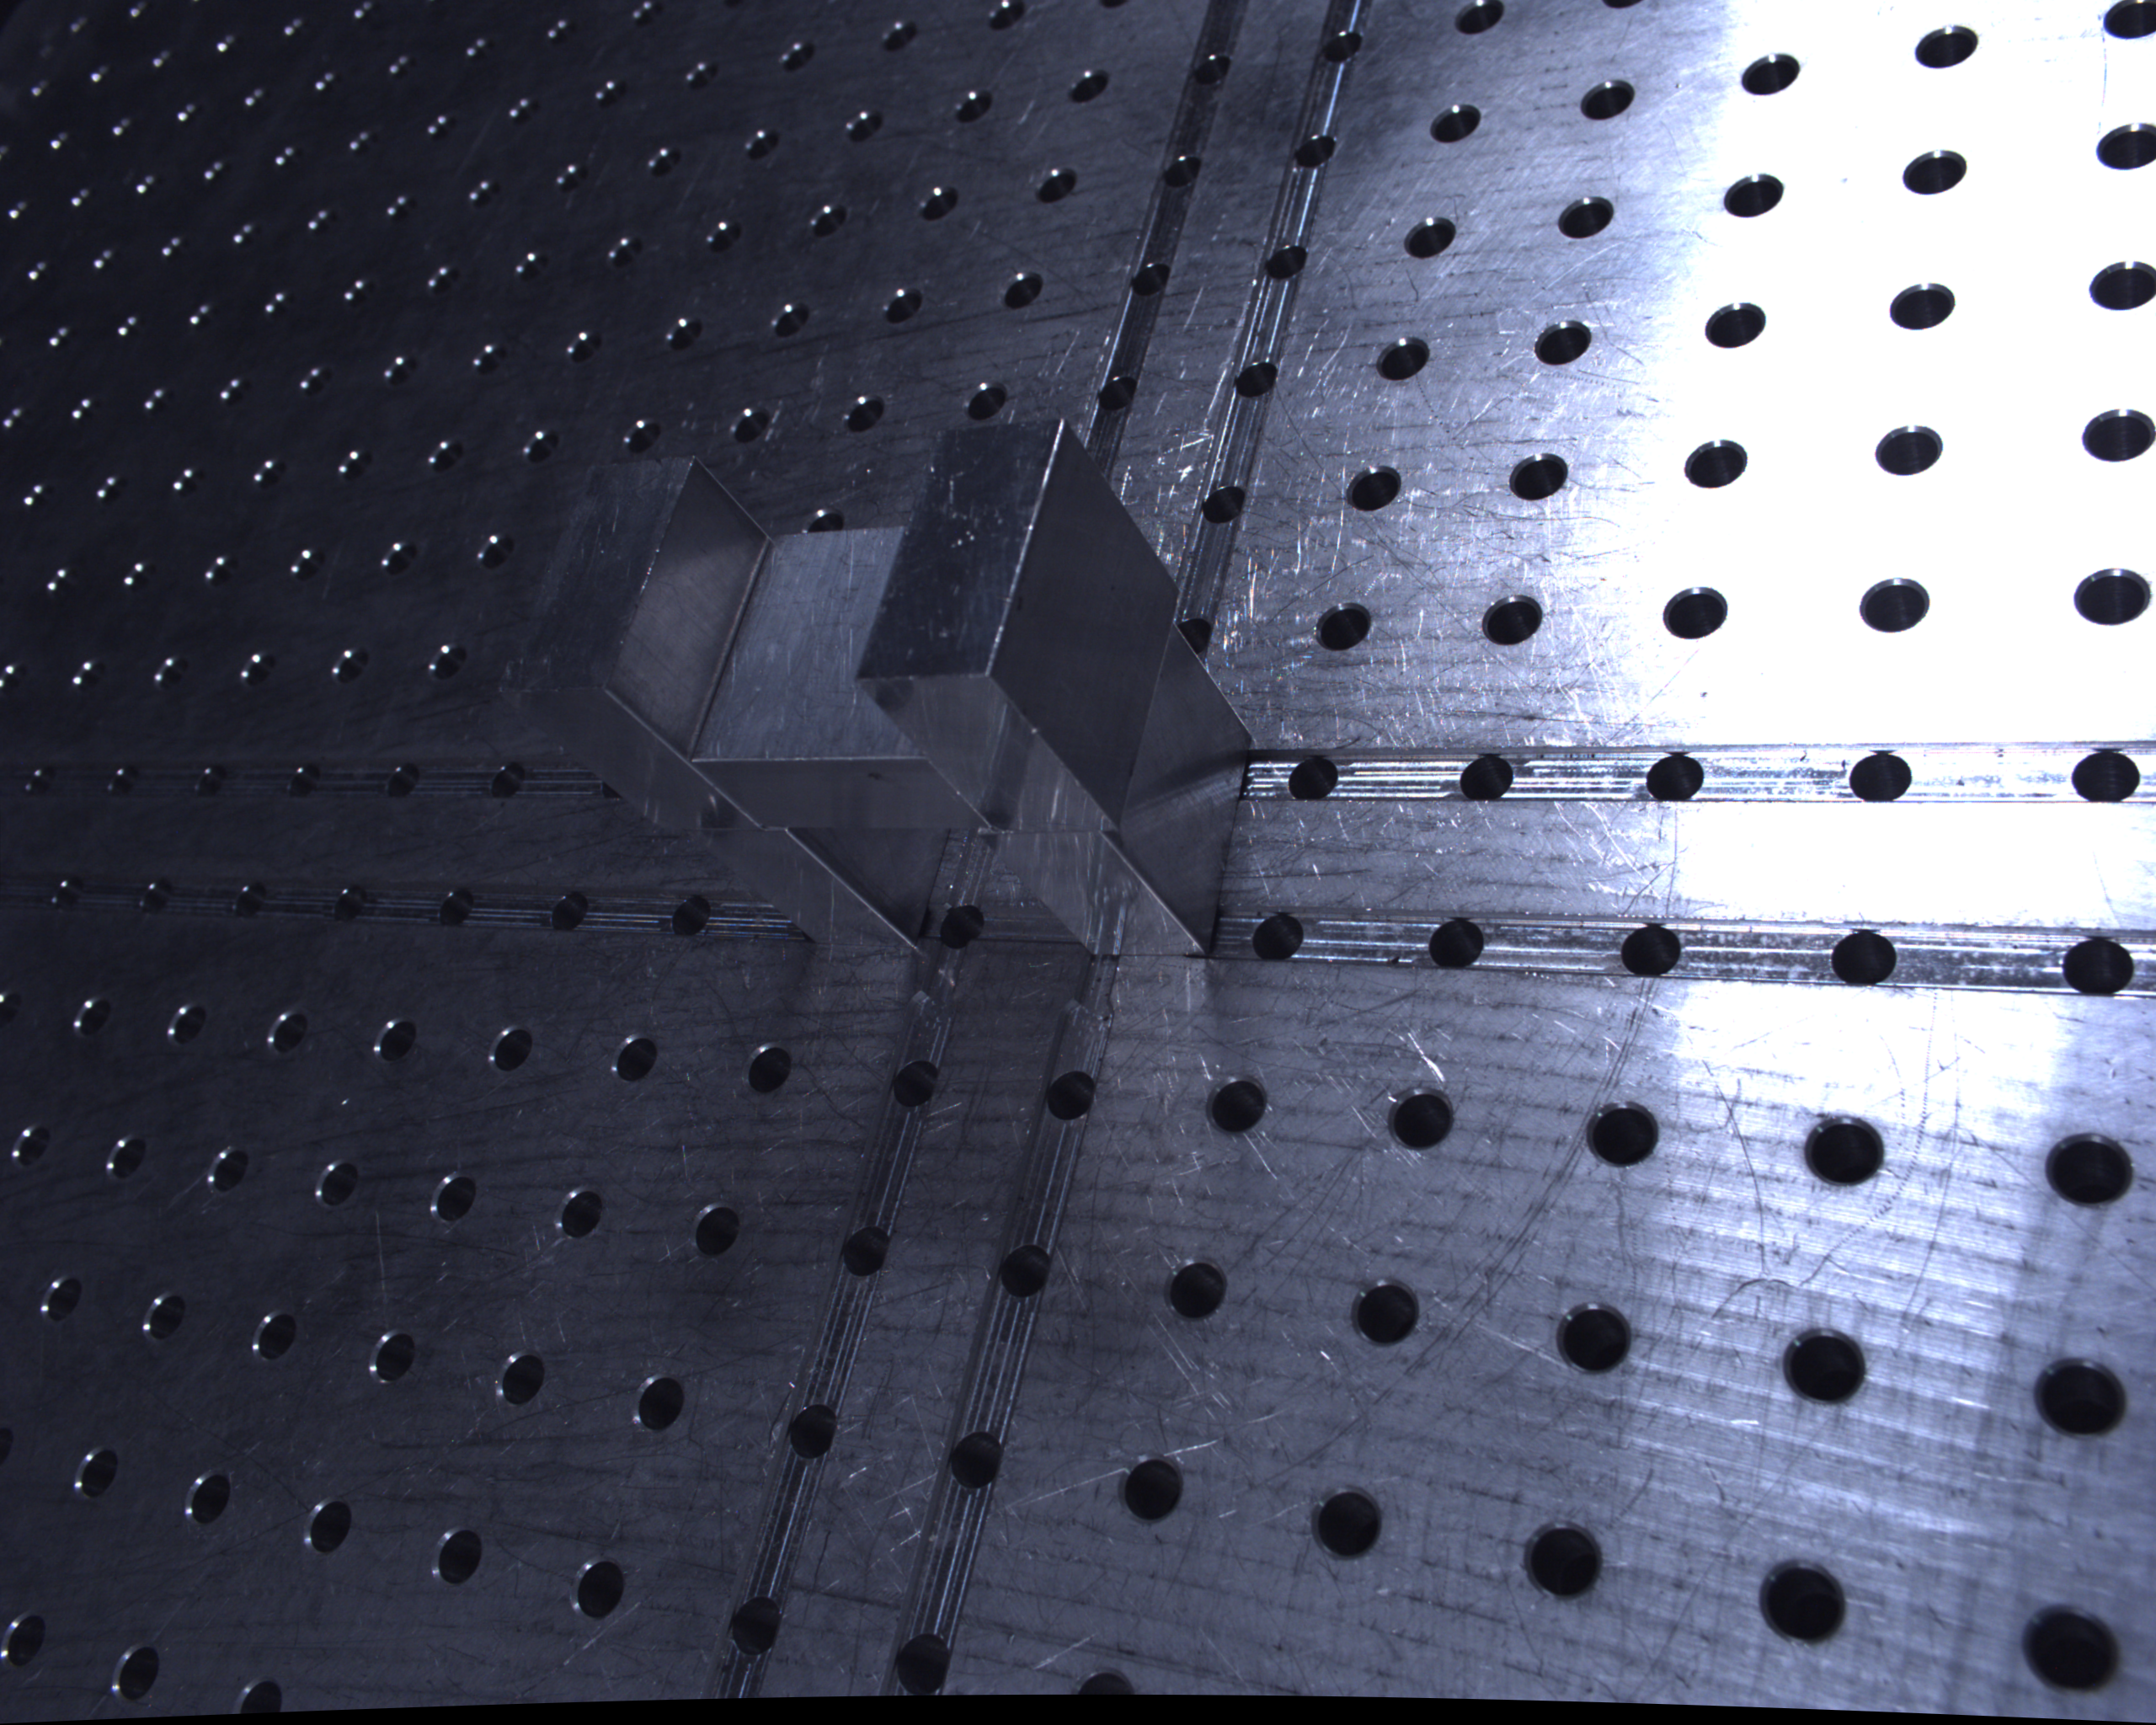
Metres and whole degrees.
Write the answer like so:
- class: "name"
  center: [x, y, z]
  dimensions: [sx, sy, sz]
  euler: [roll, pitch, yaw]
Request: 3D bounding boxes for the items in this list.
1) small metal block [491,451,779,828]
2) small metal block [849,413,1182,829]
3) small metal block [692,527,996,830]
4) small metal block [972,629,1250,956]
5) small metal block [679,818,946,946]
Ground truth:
- class: "small metal block"
  center: [-0.075, -0.040, 0.389]
  dimensions: [0.025, 0.050, 0.050]
  euler: [1, 62, 29]
- class: "small metal block"
  center: [-0.009, -0.040, 0.354]
  dimensions: [0.025, 0.050, 0.050]
  euler: [1, 62, 29]
- class: "small metal block"
  center: [-0.036, -0.034, 0.383]
  dimensions: [0.050, 0.025, 0.050]
  euler: [1, 62, 28]
- class: "small metal block"
  center: [0.008, -0.016, 0.396]
  dimensions: [0.025, 0.050, 0.050]
  euler: [-1, 62, 28]
- class: "small metal block"
  center: [-0.050, -0.017, 0.426]
  dimensions: [0.025, 0.050, 0.050]
  euler: [1, 62, 28]
